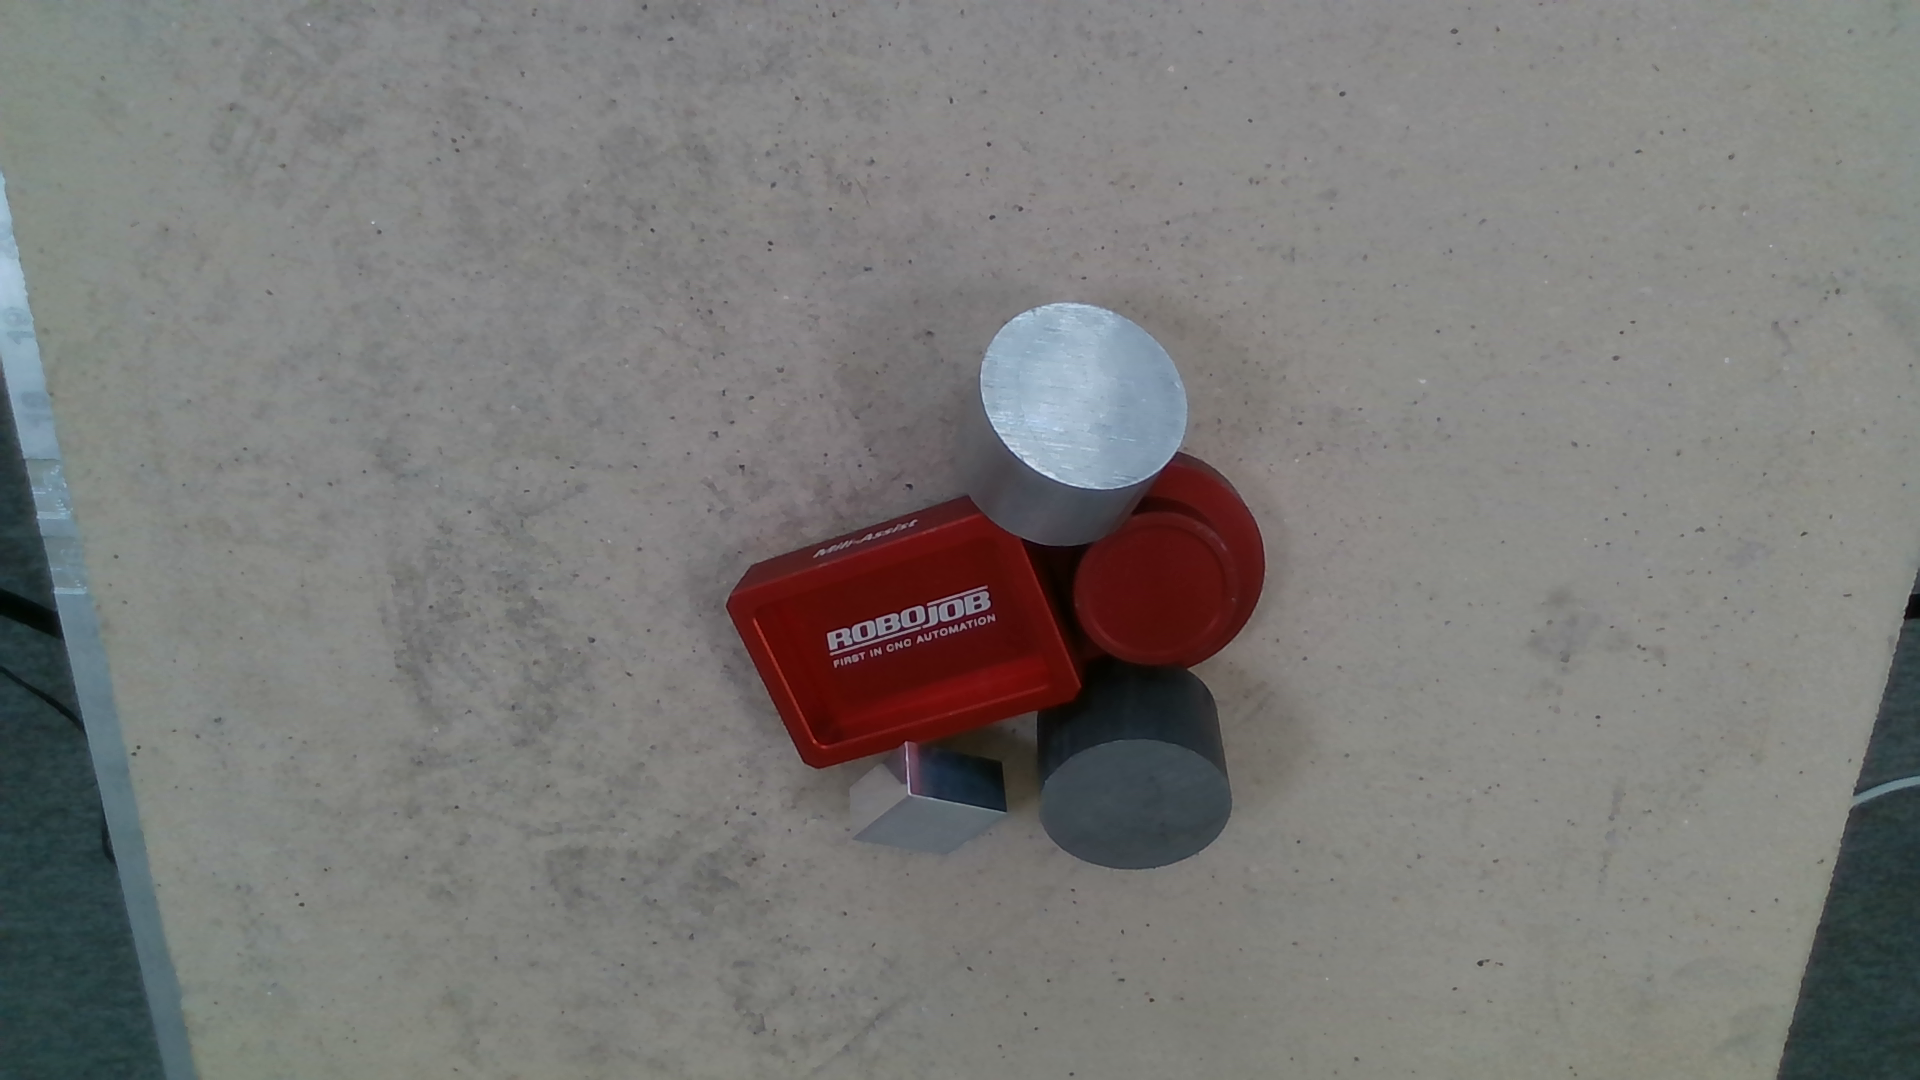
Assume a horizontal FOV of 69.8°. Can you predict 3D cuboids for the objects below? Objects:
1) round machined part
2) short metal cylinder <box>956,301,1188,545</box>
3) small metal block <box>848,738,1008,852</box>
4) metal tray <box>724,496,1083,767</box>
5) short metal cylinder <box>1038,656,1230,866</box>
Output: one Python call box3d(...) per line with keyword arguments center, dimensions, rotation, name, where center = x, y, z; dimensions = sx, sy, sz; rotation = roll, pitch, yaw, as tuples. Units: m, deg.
box3d(center=(0.080, 0.013, 0.581), dimensions=(0.098, 0.042, 0.098), rotation=(0, 110, 0), name="round machined part")
box3d(center=(0.041, -0.045, 0.532), dimensions=(0.080, 0.080, 0.050), rotation=(15, 153, -6), name="short metal cylinder")
box3d(center=(-0.015, 0.114, 0.609), dimensions=(0.050, 0.025, 0.050), rotation=(17, 139, -30), name="small metal block")
box3d(center=(-0.022, 0.038, 0.584), dimensions=(0.130, 0.030, 0.090), rotation=(-18, 110, 16), name="metal tray")
box3d(center=(0.074, 0.095, 0.596), dimensions=(0.080, 0.050, 0.080), rotation=(1, 128, 1), name="short metal cylinder")
